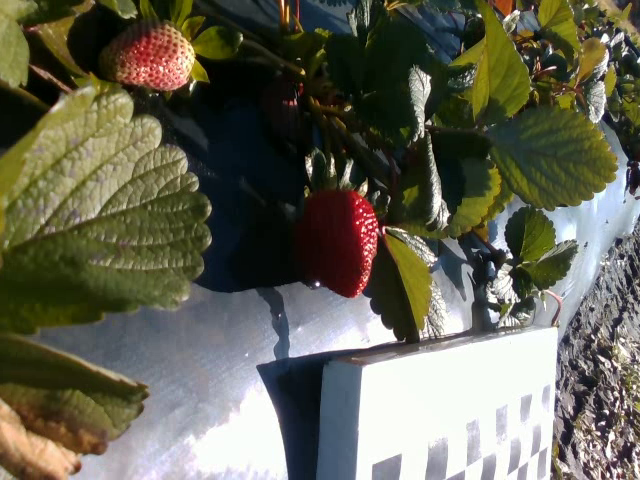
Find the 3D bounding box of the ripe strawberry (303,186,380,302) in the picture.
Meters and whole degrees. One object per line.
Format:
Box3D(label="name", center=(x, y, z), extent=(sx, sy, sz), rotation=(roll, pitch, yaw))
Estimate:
Box3D(label="ripe strawberry", center=(0.006, 0.003, 0.258), extent=(0.058, 0.066, 0.061), rotation=(-36, 38, -13))
